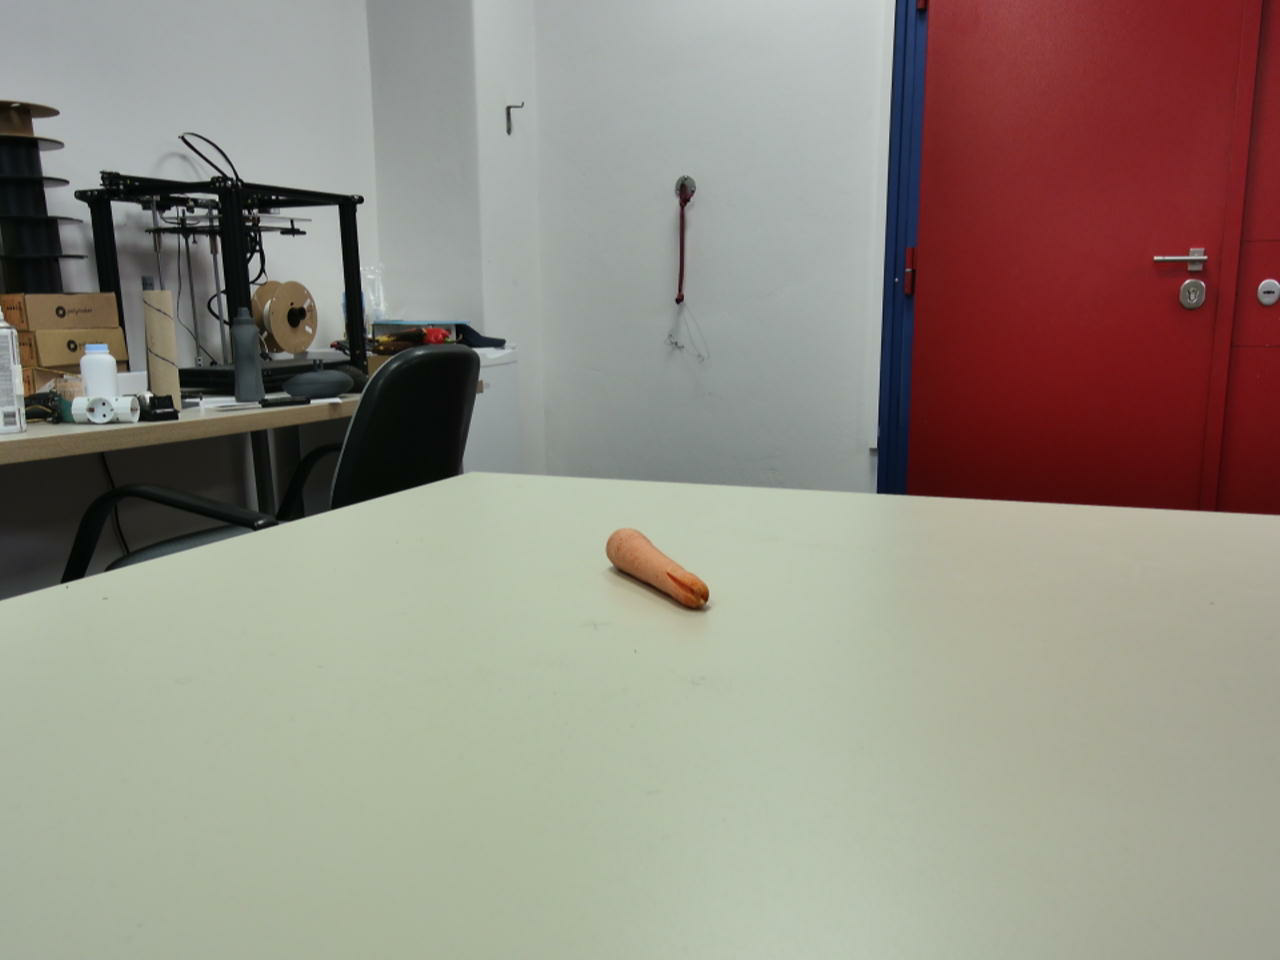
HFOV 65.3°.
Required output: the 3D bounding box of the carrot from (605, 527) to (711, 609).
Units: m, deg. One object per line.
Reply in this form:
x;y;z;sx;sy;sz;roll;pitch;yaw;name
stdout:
0.010;0.055;0.654;0.030;0.032;0.136;-2;8;-22;carrot
